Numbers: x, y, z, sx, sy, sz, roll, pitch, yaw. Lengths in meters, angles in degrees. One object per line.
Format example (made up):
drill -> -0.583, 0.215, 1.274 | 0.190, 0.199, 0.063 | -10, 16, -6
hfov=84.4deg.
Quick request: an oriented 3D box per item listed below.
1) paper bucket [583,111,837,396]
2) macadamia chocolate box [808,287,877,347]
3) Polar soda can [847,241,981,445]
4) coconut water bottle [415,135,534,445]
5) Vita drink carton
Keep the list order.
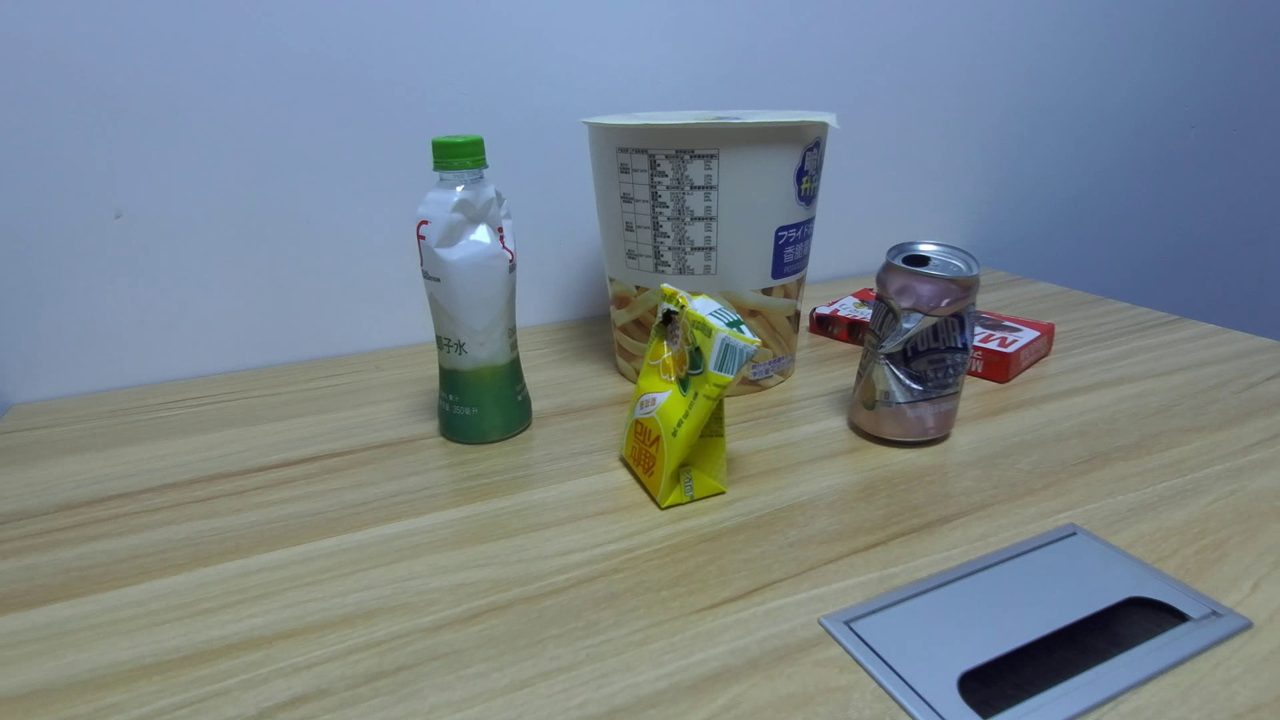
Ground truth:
paper bucket -> 0.052, -0.088, 0.550 | 0.198, 0.194, 0.198 | -1, 21, 1
macadamia chocolate box -> 0.250, -0.027, 0.623 | 0.106, 0.028, 0.182 | -19, 26, -39
Polar soda can -> 0.174, -0.007, 0.444 | 0.066, 0.122, 0.071 | 12, 26, 18
coconut water bottle -> -0.107, -0.043, 0.449 | 0.069, 0.186, 0.069 | -1, 22, 1
Vita drink carton -> 0.028, 0.019, 0.399 | 0.042, 0.108, 0.086 | 5, 20, -25
